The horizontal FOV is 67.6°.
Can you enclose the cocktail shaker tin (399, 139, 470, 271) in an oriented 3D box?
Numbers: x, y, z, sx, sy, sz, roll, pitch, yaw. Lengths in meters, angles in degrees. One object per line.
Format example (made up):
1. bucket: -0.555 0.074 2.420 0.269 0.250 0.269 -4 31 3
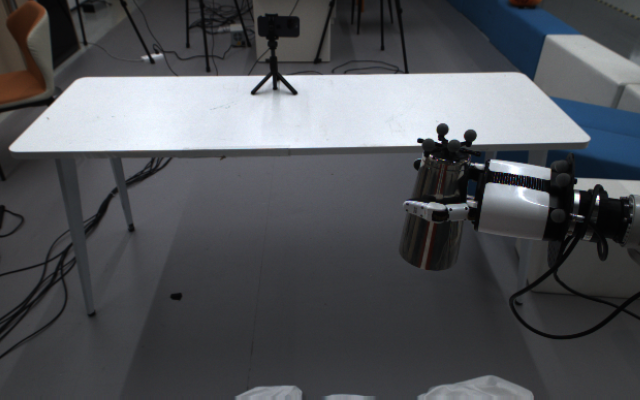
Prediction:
1. cocktail shaker tin: 0.175 0.007 0.714 0.093 0.170 0.093 2 30 -1
